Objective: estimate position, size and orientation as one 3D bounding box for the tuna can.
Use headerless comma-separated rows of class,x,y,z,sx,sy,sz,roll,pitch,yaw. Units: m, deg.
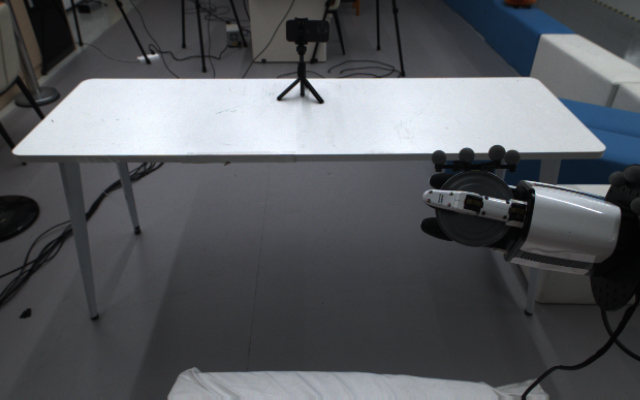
tuna can,0.177,0.008,0.553,0.085,0.085,0.034,12,0,15
